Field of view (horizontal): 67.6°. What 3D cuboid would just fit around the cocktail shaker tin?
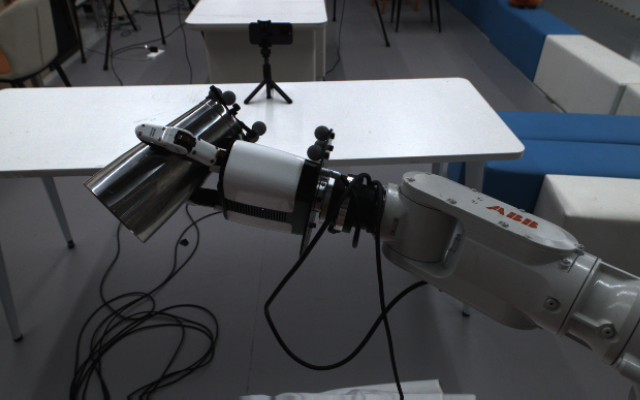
[{"bbox_3d":[-0.172,-0.045,0.563,0.093,0.093,0.170,32,66,36],"label":"cocktail shaker tin"}]
